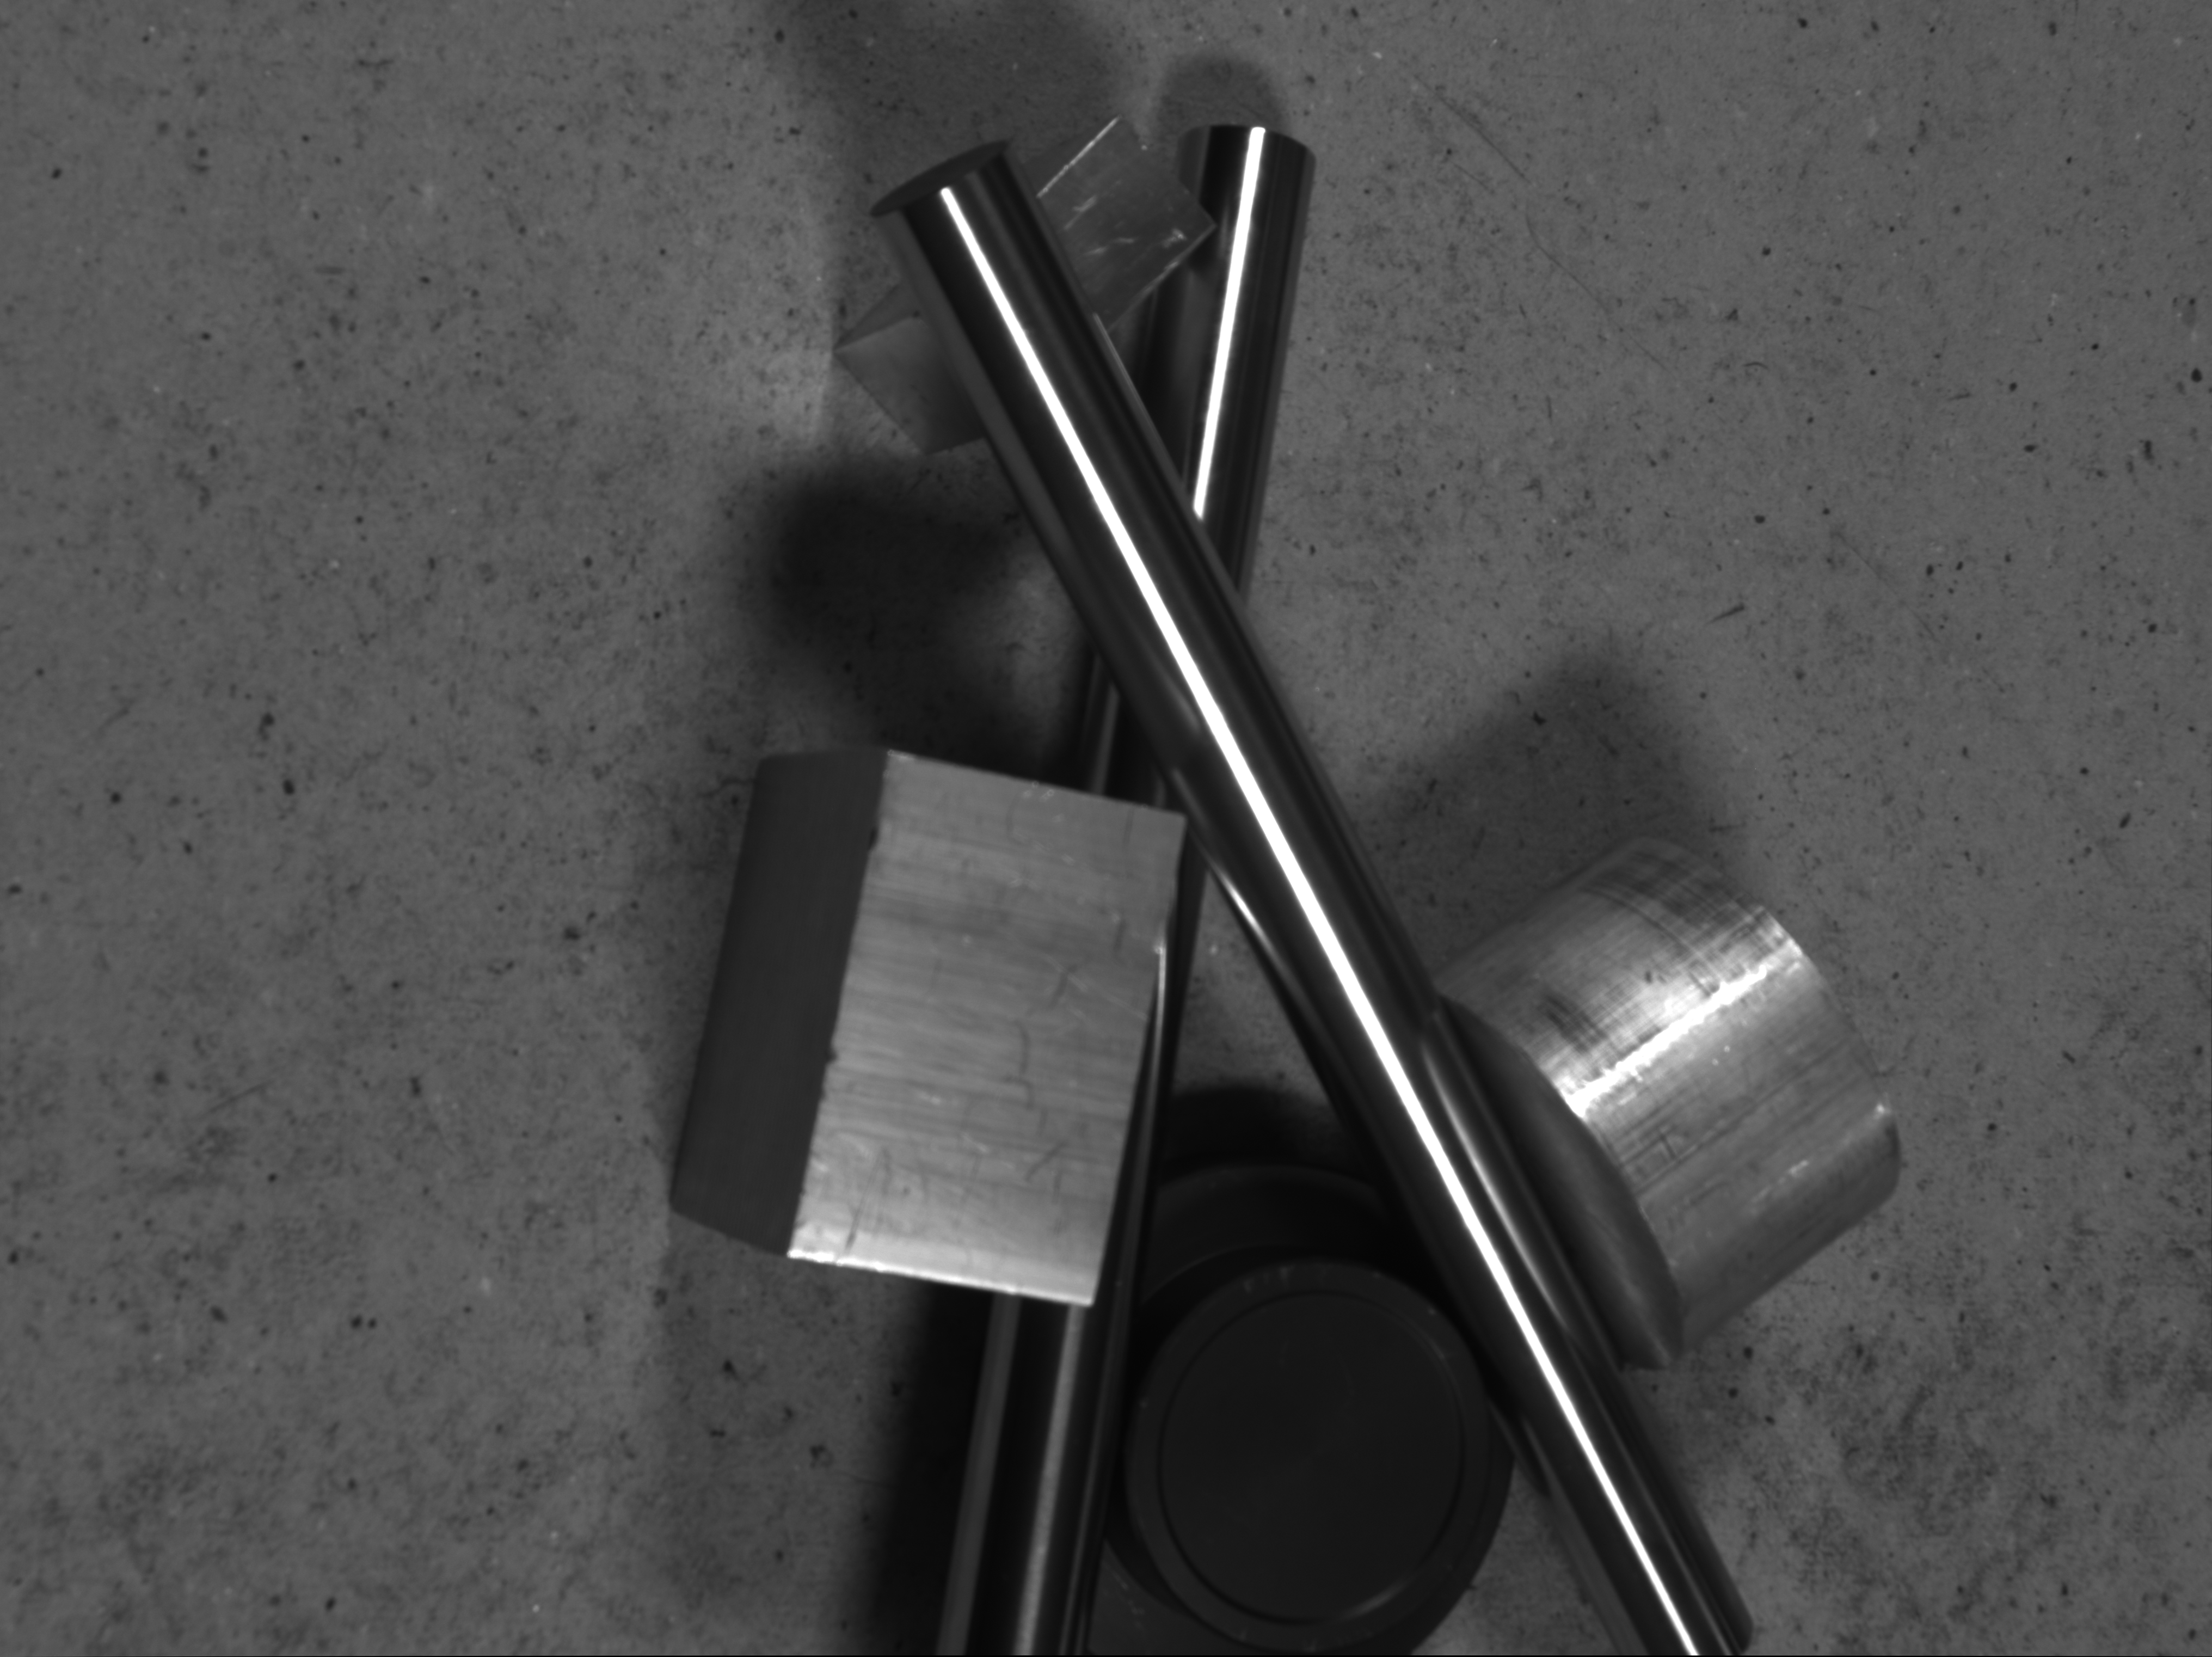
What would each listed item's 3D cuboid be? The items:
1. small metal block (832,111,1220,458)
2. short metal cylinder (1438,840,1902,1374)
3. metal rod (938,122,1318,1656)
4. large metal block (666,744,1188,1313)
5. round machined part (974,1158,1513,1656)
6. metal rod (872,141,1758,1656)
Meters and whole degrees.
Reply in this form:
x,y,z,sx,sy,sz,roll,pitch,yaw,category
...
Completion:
x,y,z,sx,sy,sz,roll,pitch,yaw,category
-0.014,-0.092,0.625,0.050,0.050,0.025,-47,104,-14,small metal block
0.094,0.049,0.649,0.050,0.080,0.080,-33,101,-17,short metal cylinder
0.002,0.025,0.628,0.025,0.025,0.300,12,80,-19,metal rod
-0.031,0.031,0.603,0.050,0.080,0.080,13,86,-19,large metal block
0.029,0.108,0.645,0.098,0.042,0.098,0,90,-20,round machined part
0.041,0.024,0.622,0.025,0.025,0.300,-34,110,-17,metal rod
